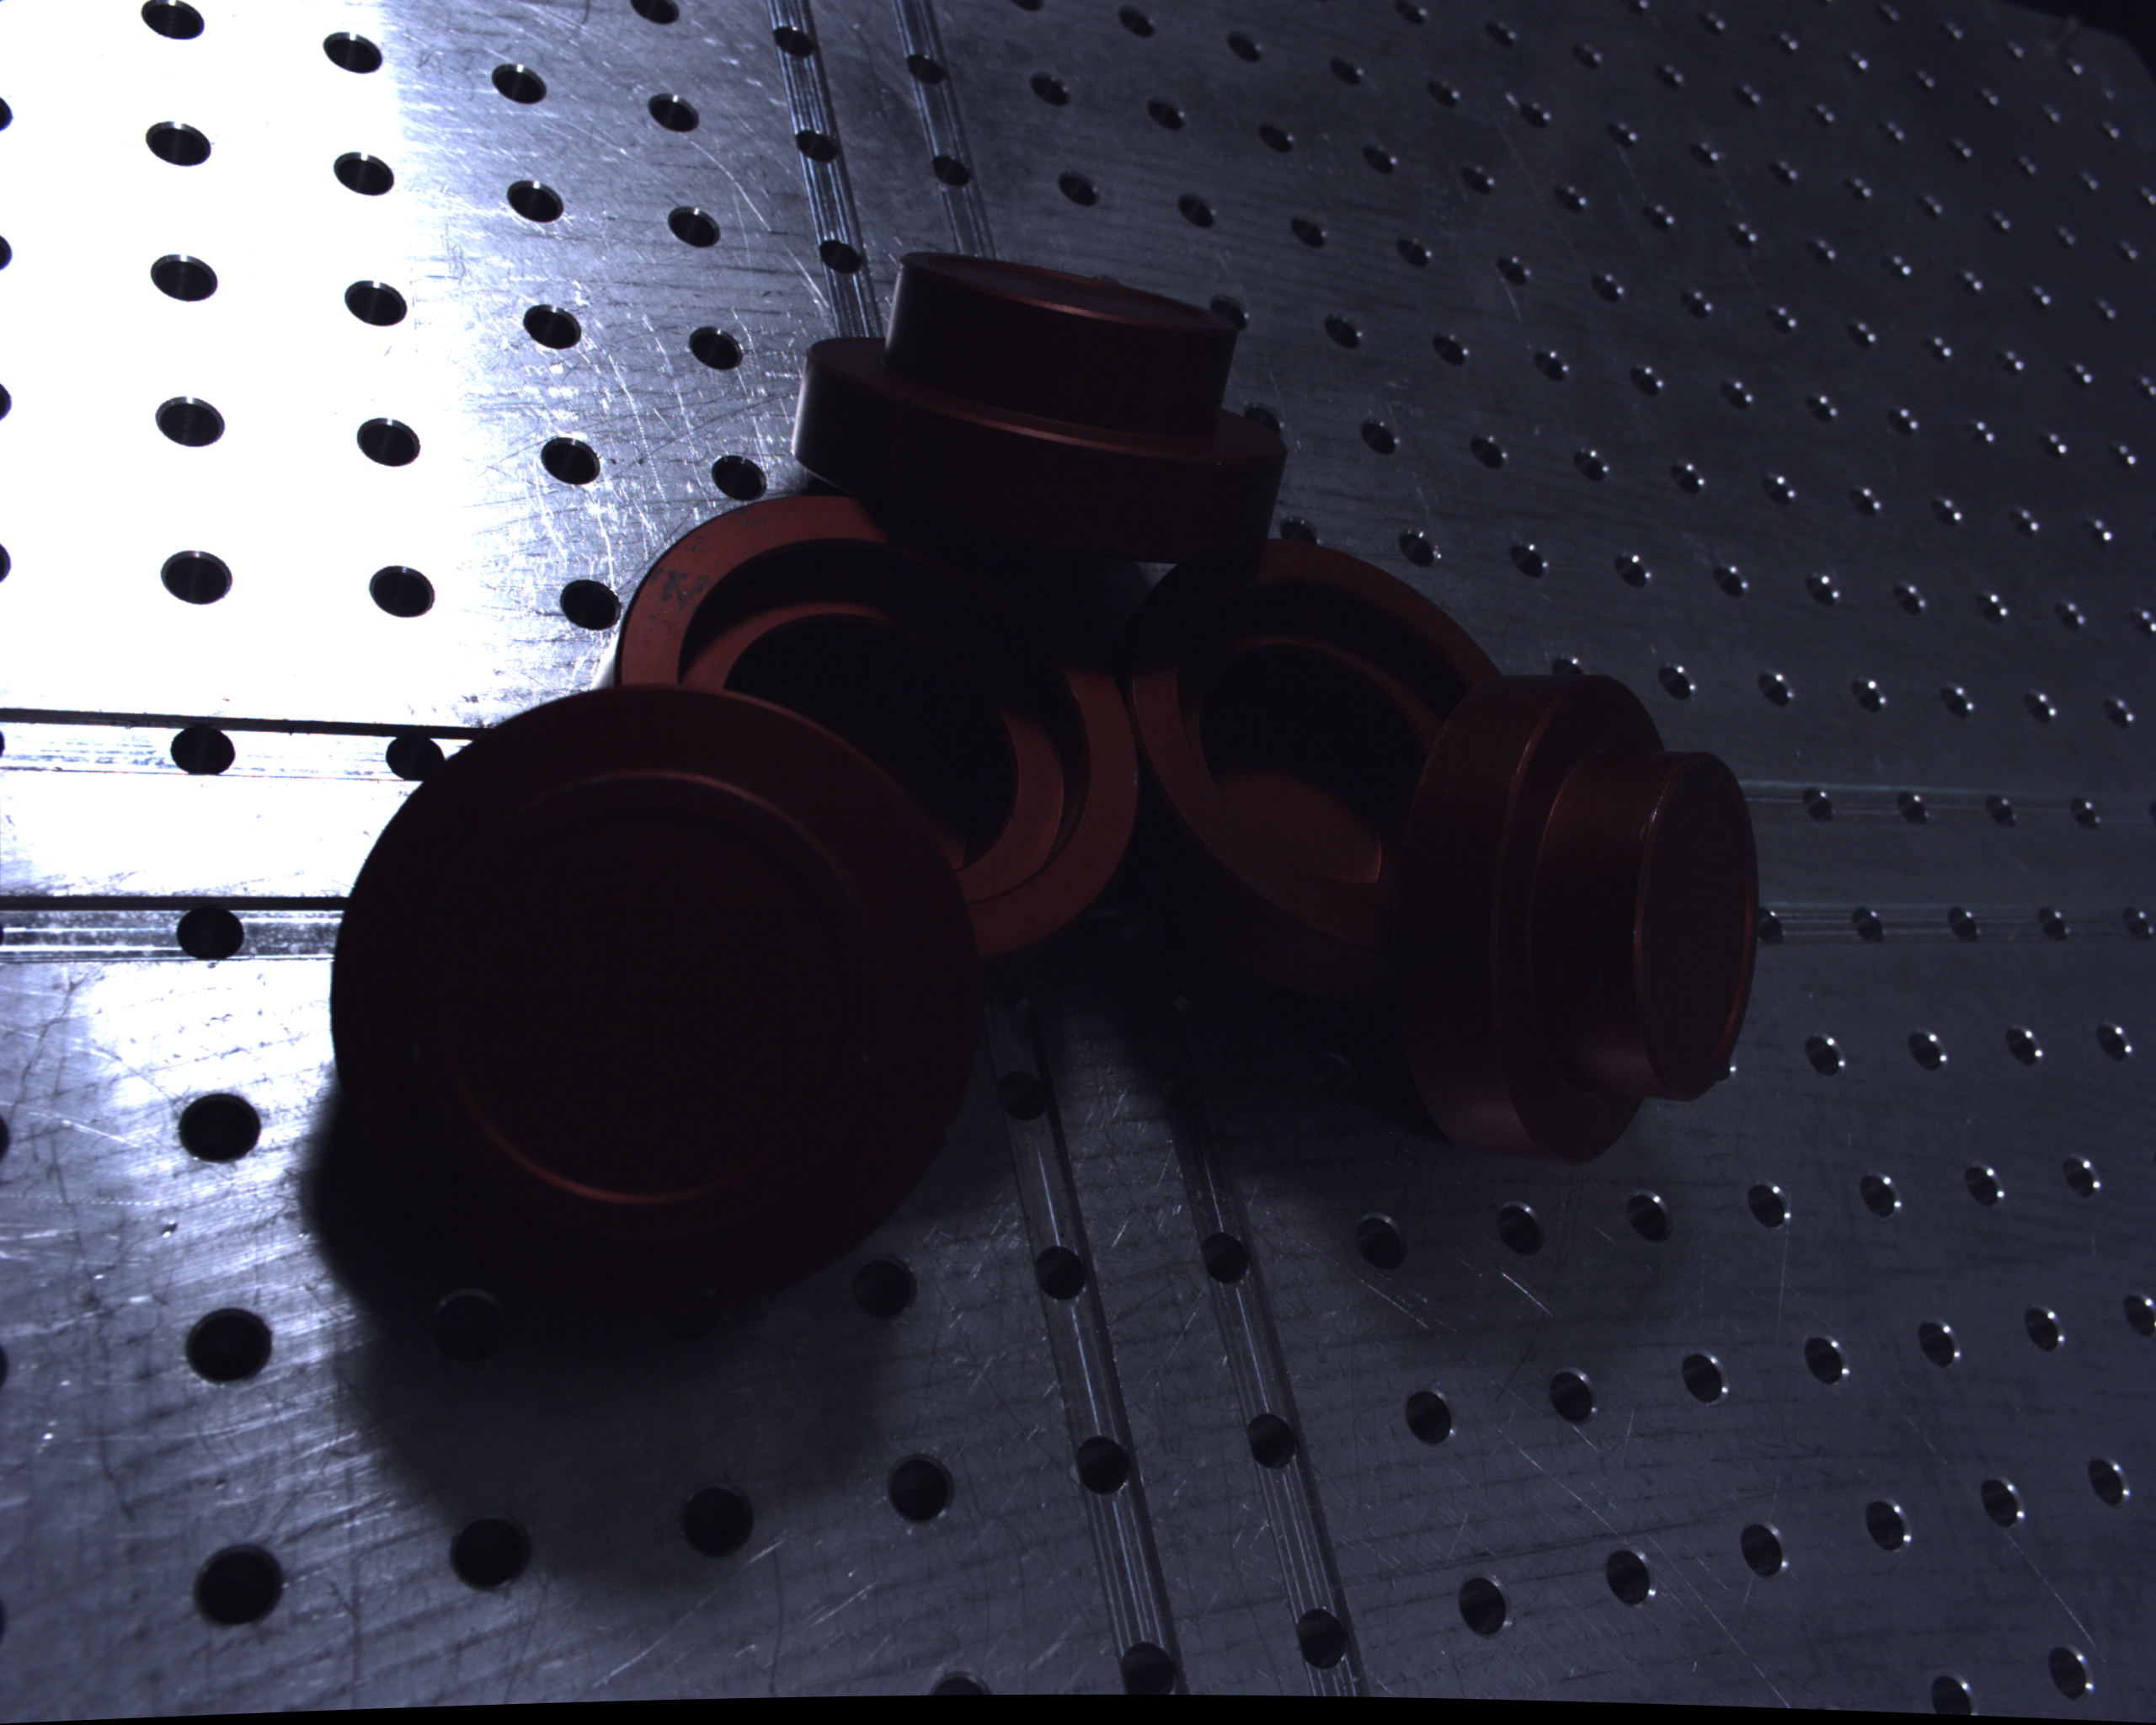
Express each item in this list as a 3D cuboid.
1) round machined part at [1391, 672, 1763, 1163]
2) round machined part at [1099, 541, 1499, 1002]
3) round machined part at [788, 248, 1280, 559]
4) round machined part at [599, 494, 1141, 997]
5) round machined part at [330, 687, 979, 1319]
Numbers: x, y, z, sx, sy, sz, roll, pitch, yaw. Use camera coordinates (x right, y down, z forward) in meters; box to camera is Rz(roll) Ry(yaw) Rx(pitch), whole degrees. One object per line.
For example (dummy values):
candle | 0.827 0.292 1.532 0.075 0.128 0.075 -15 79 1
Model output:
round machined part | 0.104 0.011 0.414 0.099 0.042 0.097 -3 94 -53
round machined part | 0.045 -0.015 0.432 0.099 0.042 0.098 14 56 -21
round machined part | -0.007 -0.096 0.421 0.099 0.042 0.098 11 21 -4
round machined part | -0.042 -0.016 0.385 0.099 0.042 0.098 14 56 -21
round machined part | -0.064 0.021 0.321 0.099 0.042 0.097 0 89 -6
